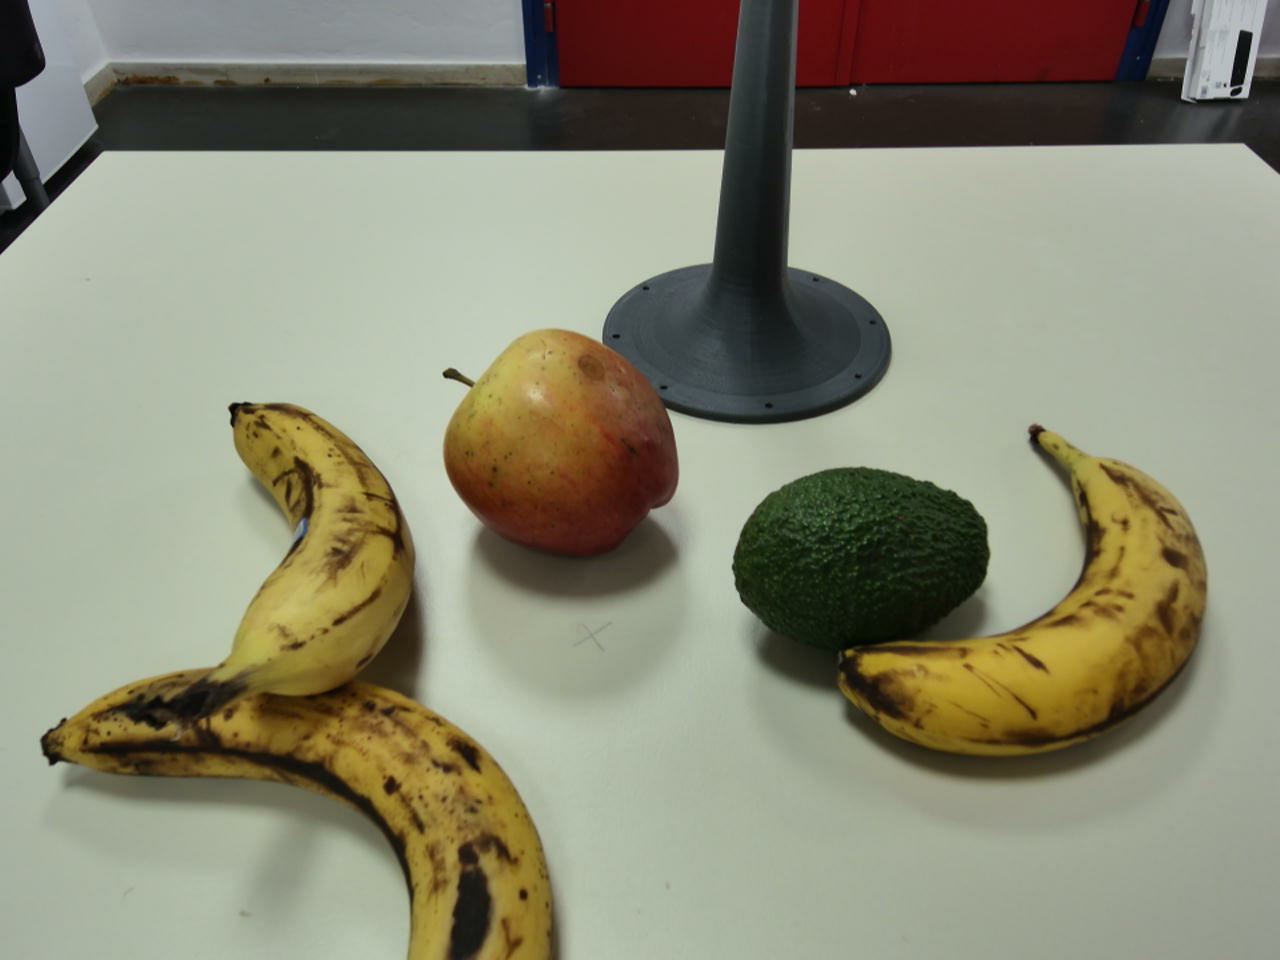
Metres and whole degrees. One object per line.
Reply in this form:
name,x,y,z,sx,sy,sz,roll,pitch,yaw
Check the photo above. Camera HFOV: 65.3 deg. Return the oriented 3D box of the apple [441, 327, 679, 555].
apple,-0.032,-0.015,0.390,0.086,0.084,0.093,-24,44,-27
